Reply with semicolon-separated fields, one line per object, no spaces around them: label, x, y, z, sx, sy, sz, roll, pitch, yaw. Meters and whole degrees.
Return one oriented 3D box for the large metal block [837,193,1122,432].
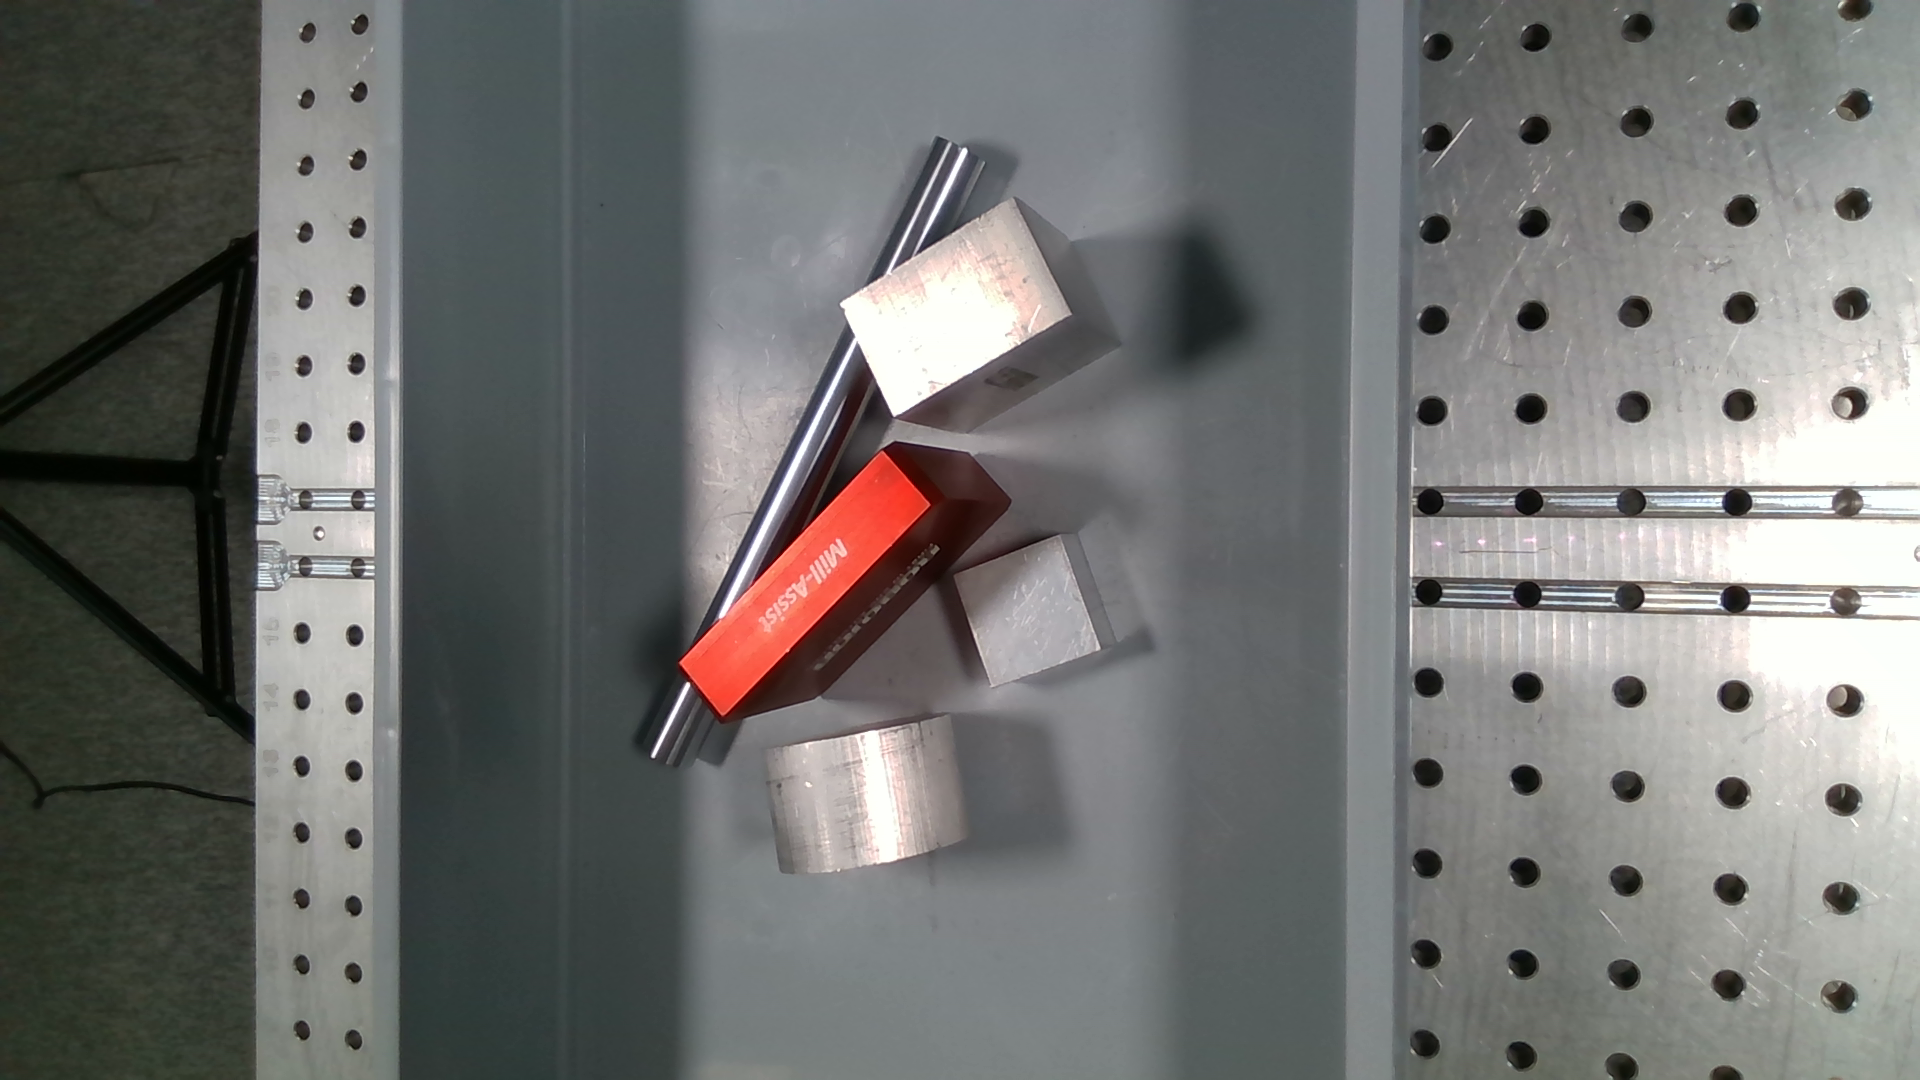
large metal block;0.010;-0.087;0.550;0.080;0.080;0.050;-28;81;18

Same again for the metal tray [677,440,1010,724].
metal tray;-0.046;0.017;0.566;0.130;0.090;0.030;-45;76;15

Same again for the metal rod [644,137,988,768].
metal rod;-0.067;-0.033;0.609;0.025;0.025;0.300;30;101;18

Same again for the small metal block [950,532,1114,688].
small metal block;0.030;0.029;0.572;0.050;0.025;0.050;-21;83;19

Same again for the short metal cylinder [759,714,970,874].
short metal cylinder;-0.040;0.104;0.571;0.080;0.080;0.050;-12;85;20
